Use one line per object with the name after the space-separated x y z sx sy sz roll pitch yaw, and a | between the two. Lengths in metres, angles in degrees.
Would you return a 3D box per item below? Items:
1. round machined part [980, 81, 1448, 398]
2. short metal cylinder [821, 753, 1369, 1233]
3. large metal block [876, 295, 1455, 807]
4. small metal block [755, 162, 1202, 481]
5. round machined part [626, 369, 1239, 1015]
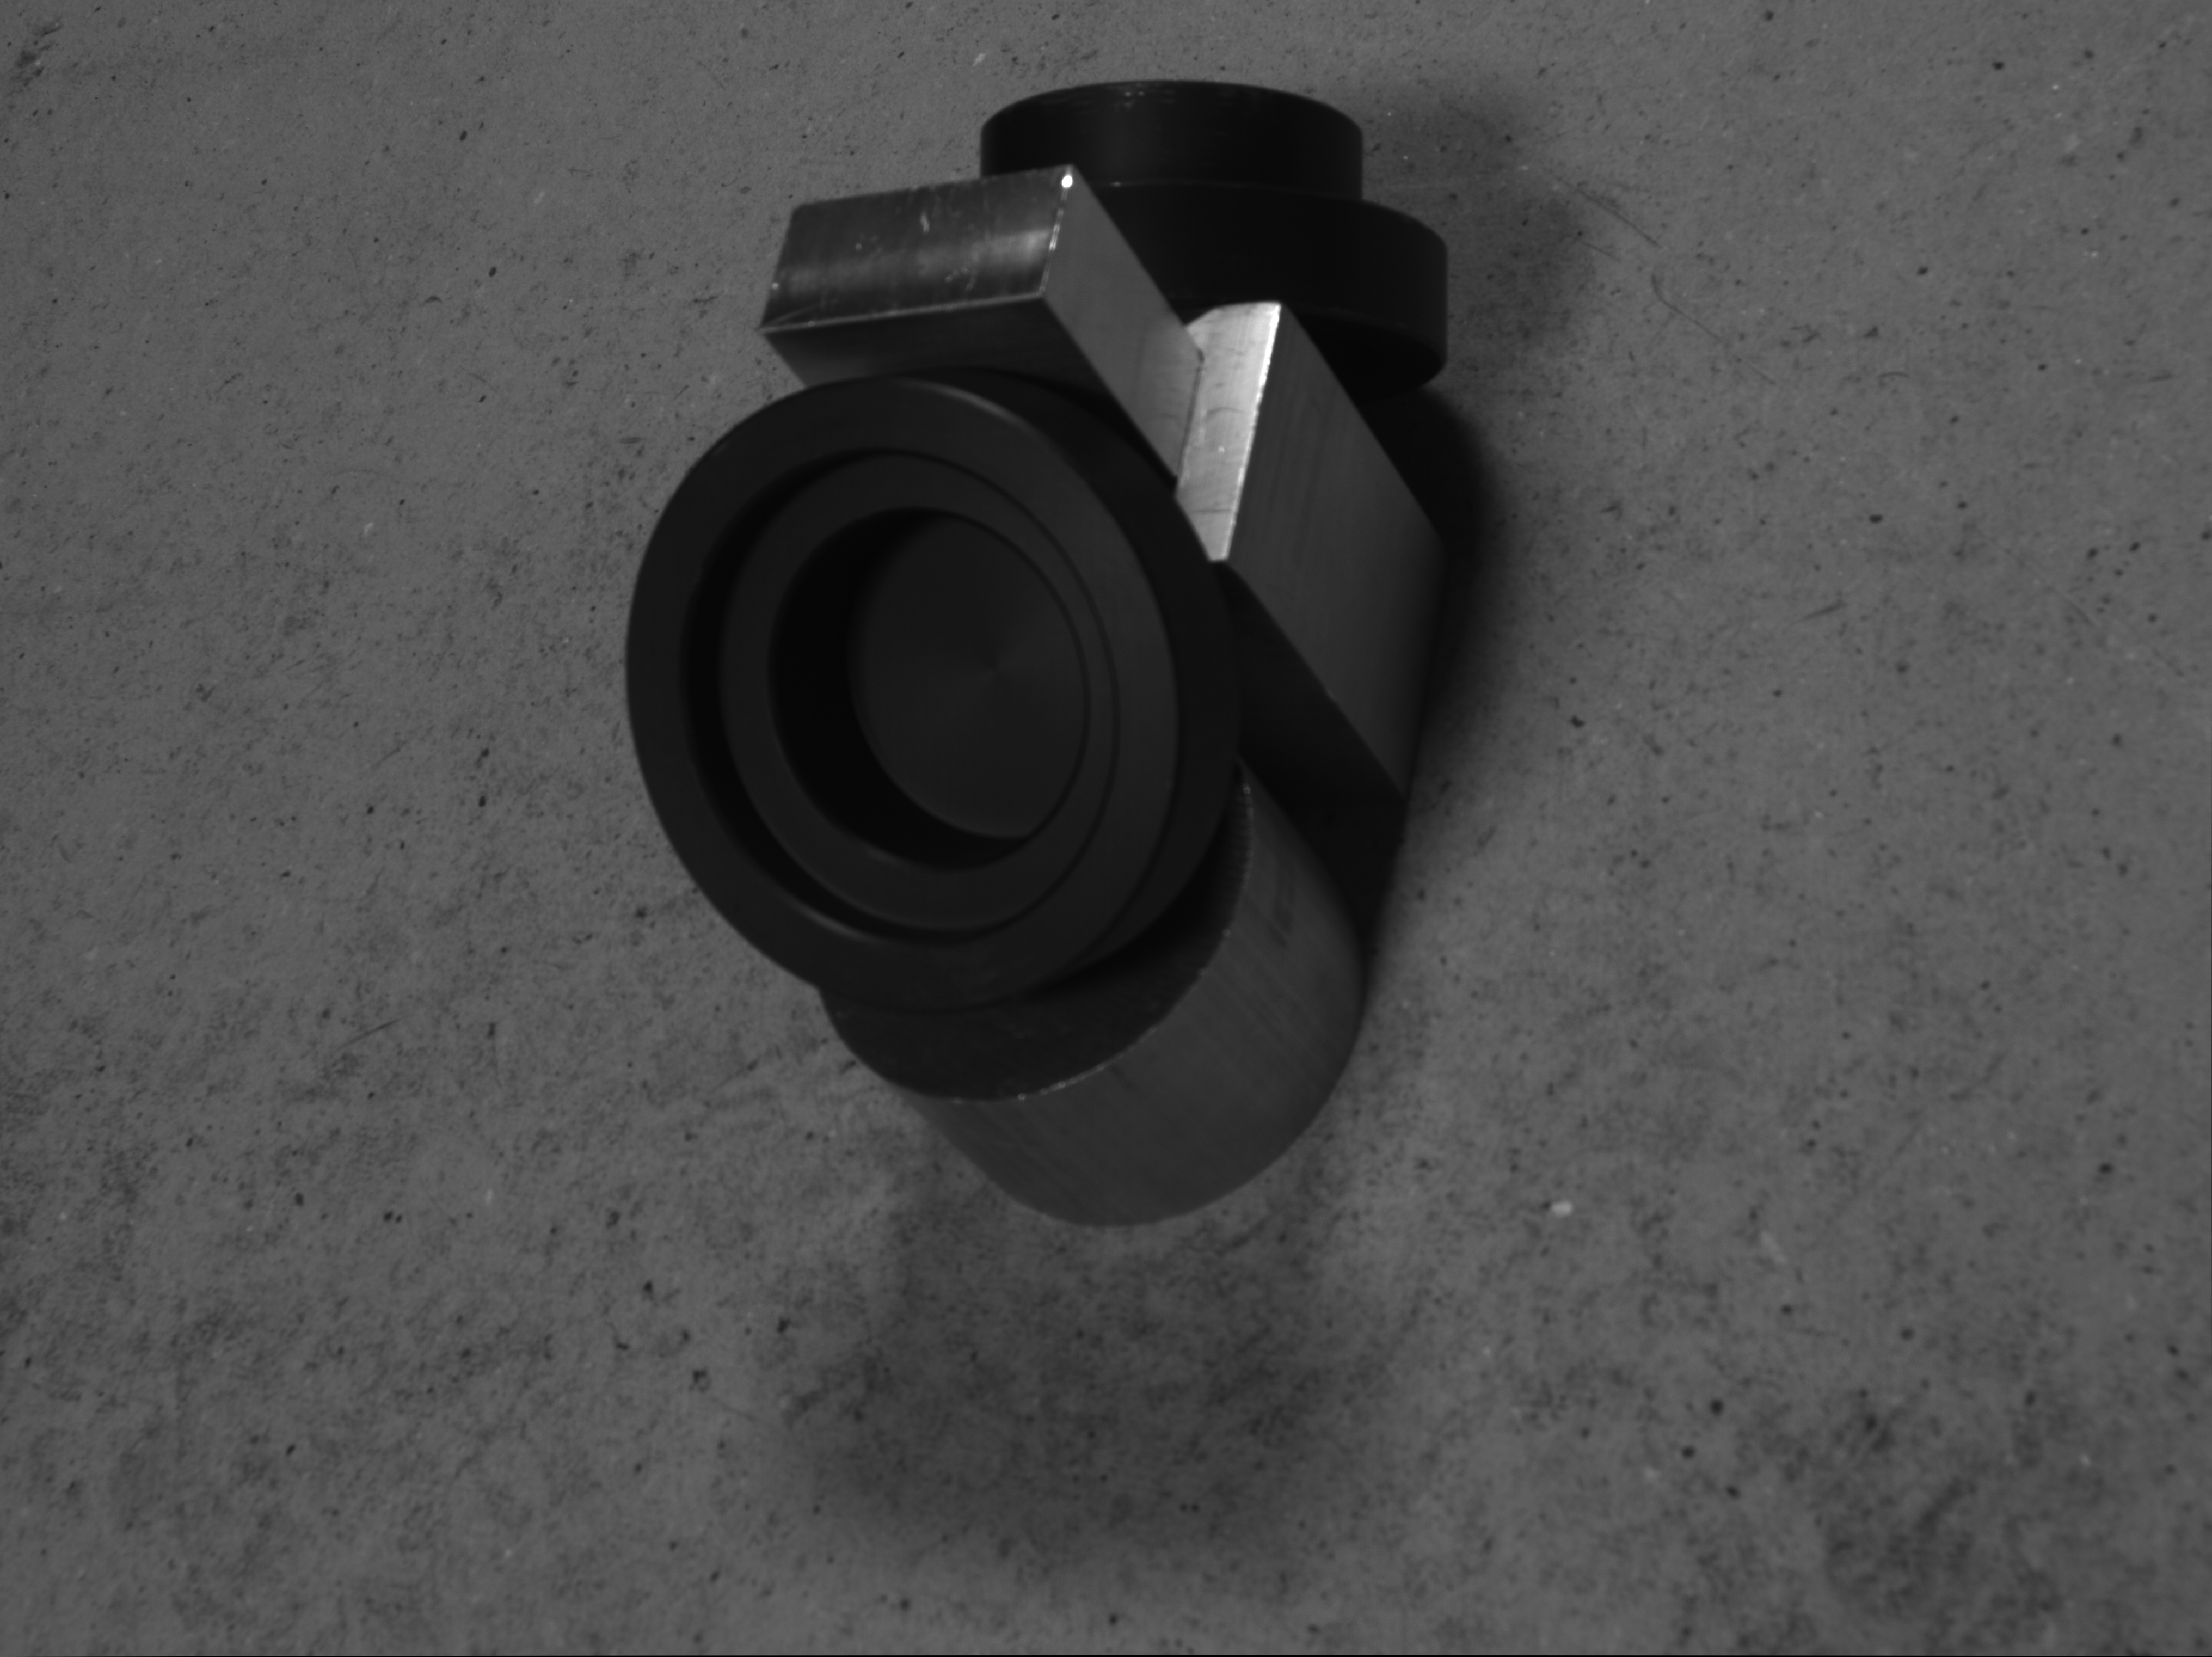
0.011 -0.103 0.650 0.098 0.098 0.042 -2 85 27 | round machined part
-0.002 0.021 0.618 0.080 0.050 0.080 -13 56 21 | short metal cylinder
0.005 -0.044 0.632 0.080 0.080 0.050 -2 61 27 | large metal block
-0.019 -0.077 0.582 0.050 0.050 0.025 -3 60 27 | small metal block
-0.023 -0.023 0.575 0.098 0.042 0.098 6 102 26 | round machined part
